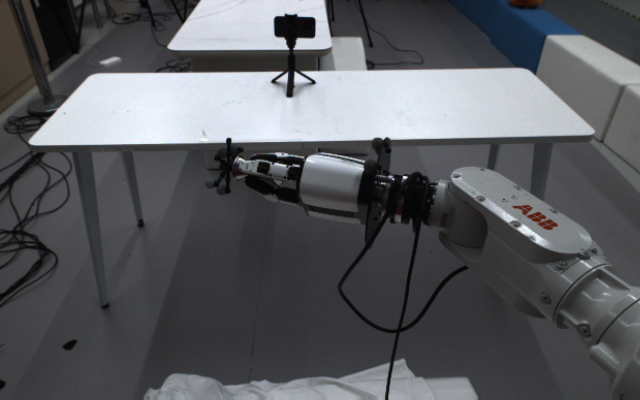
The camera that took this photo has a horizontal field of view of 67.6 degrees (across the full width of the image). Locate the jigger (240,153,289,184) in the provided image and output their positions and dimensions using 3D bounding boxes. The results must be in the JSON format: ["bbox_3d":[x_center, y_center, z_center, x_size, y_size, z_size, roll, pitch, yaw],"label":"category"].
[{"bbox_3d":[-0.088,-0.047,0.730,0.071,0.043,0.043,10,35,16],"label":"jigger"}]
